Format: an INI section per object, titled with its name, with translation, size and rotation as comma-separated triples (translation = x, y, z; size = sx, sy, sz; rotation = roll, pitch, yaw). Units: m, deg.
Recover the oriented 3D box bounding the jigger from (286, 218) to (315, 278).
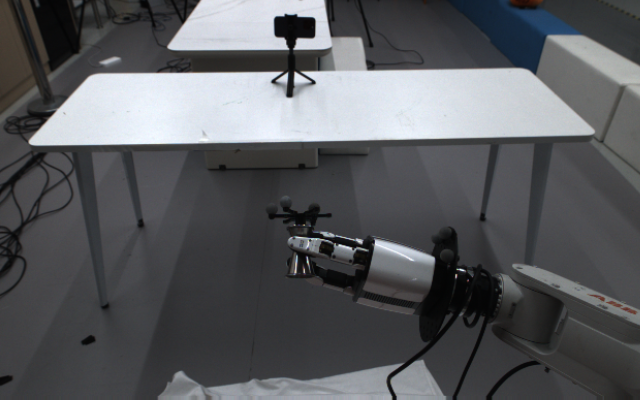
[jigger]
translation = -0.026, 0.070, 0.661
size = 0.043, 0.043, 0.071
rotation = 0, 75, -3
